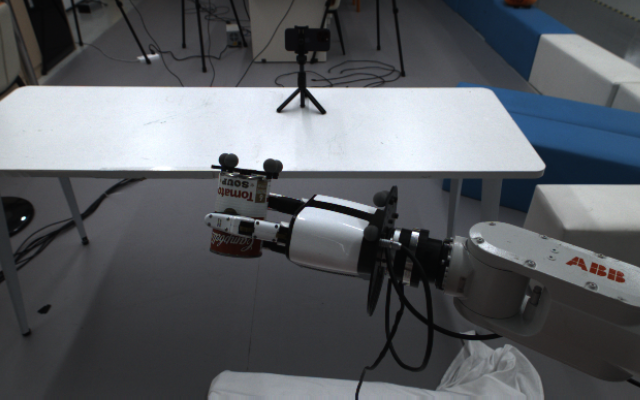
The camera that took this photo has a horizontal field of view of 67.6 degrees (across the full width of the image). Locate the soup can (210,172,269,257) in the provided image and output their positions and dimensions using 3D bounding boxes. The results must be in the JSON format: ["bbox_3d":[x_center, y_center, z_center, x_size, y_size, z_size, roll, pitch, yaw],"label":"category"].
[{"bbox_3d":[-0.100,0.018,0.621,0.067,0.101,0.067,7,4,0],"label":"soup can"}]
